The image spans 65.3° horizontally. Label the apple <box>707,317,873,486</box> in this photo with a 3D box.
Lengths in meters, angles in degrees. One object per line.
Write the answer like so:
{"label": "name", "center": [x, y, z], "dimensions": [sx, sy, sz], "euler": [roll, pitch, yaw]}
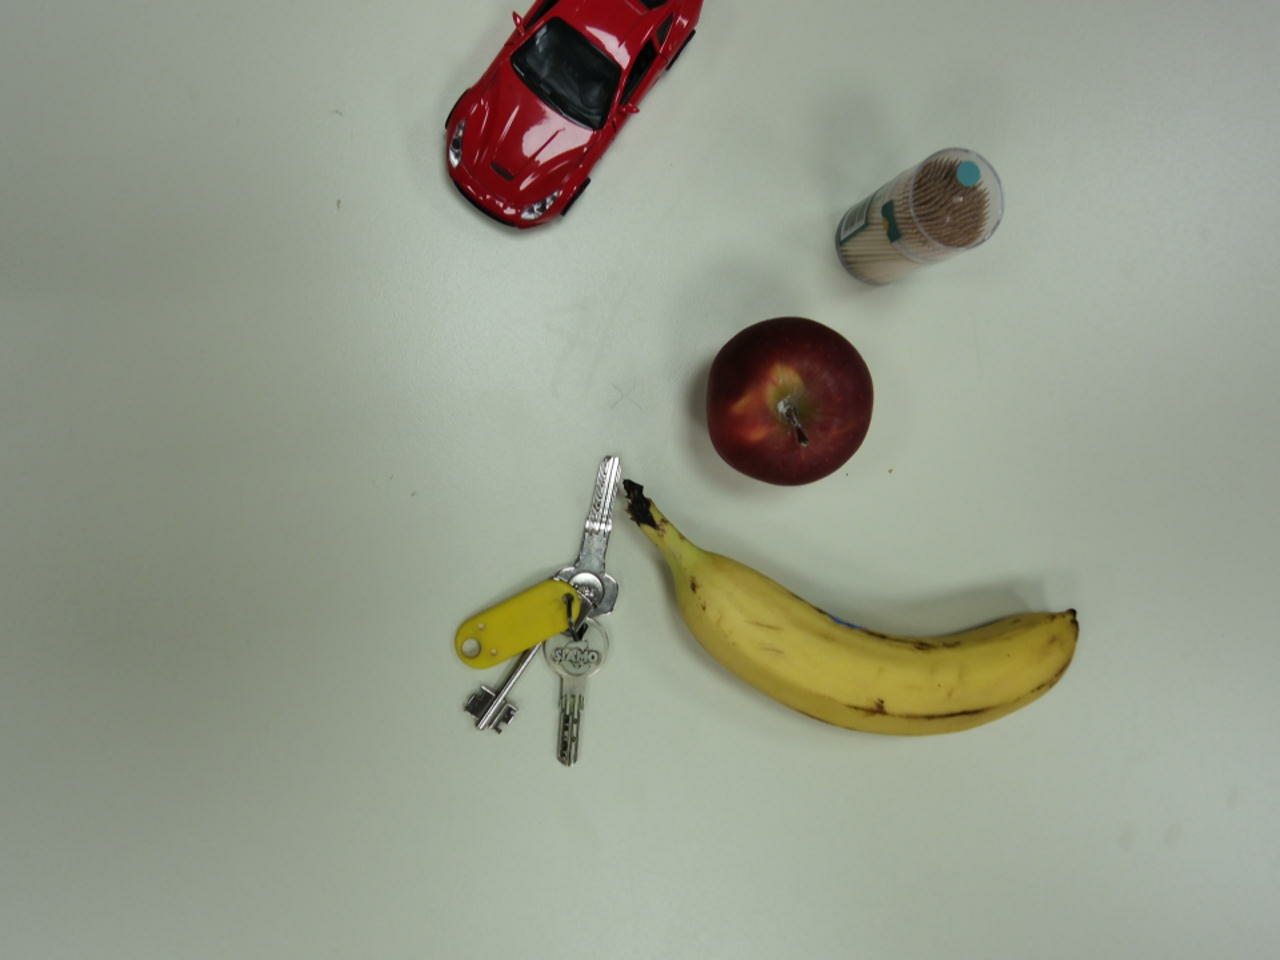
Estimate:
{"label": "apple", "center": [0.061, -0.032, 0.416], "dimensions": [0.070, 0.072, 0.070], "euler": [0, 90, -12]}
